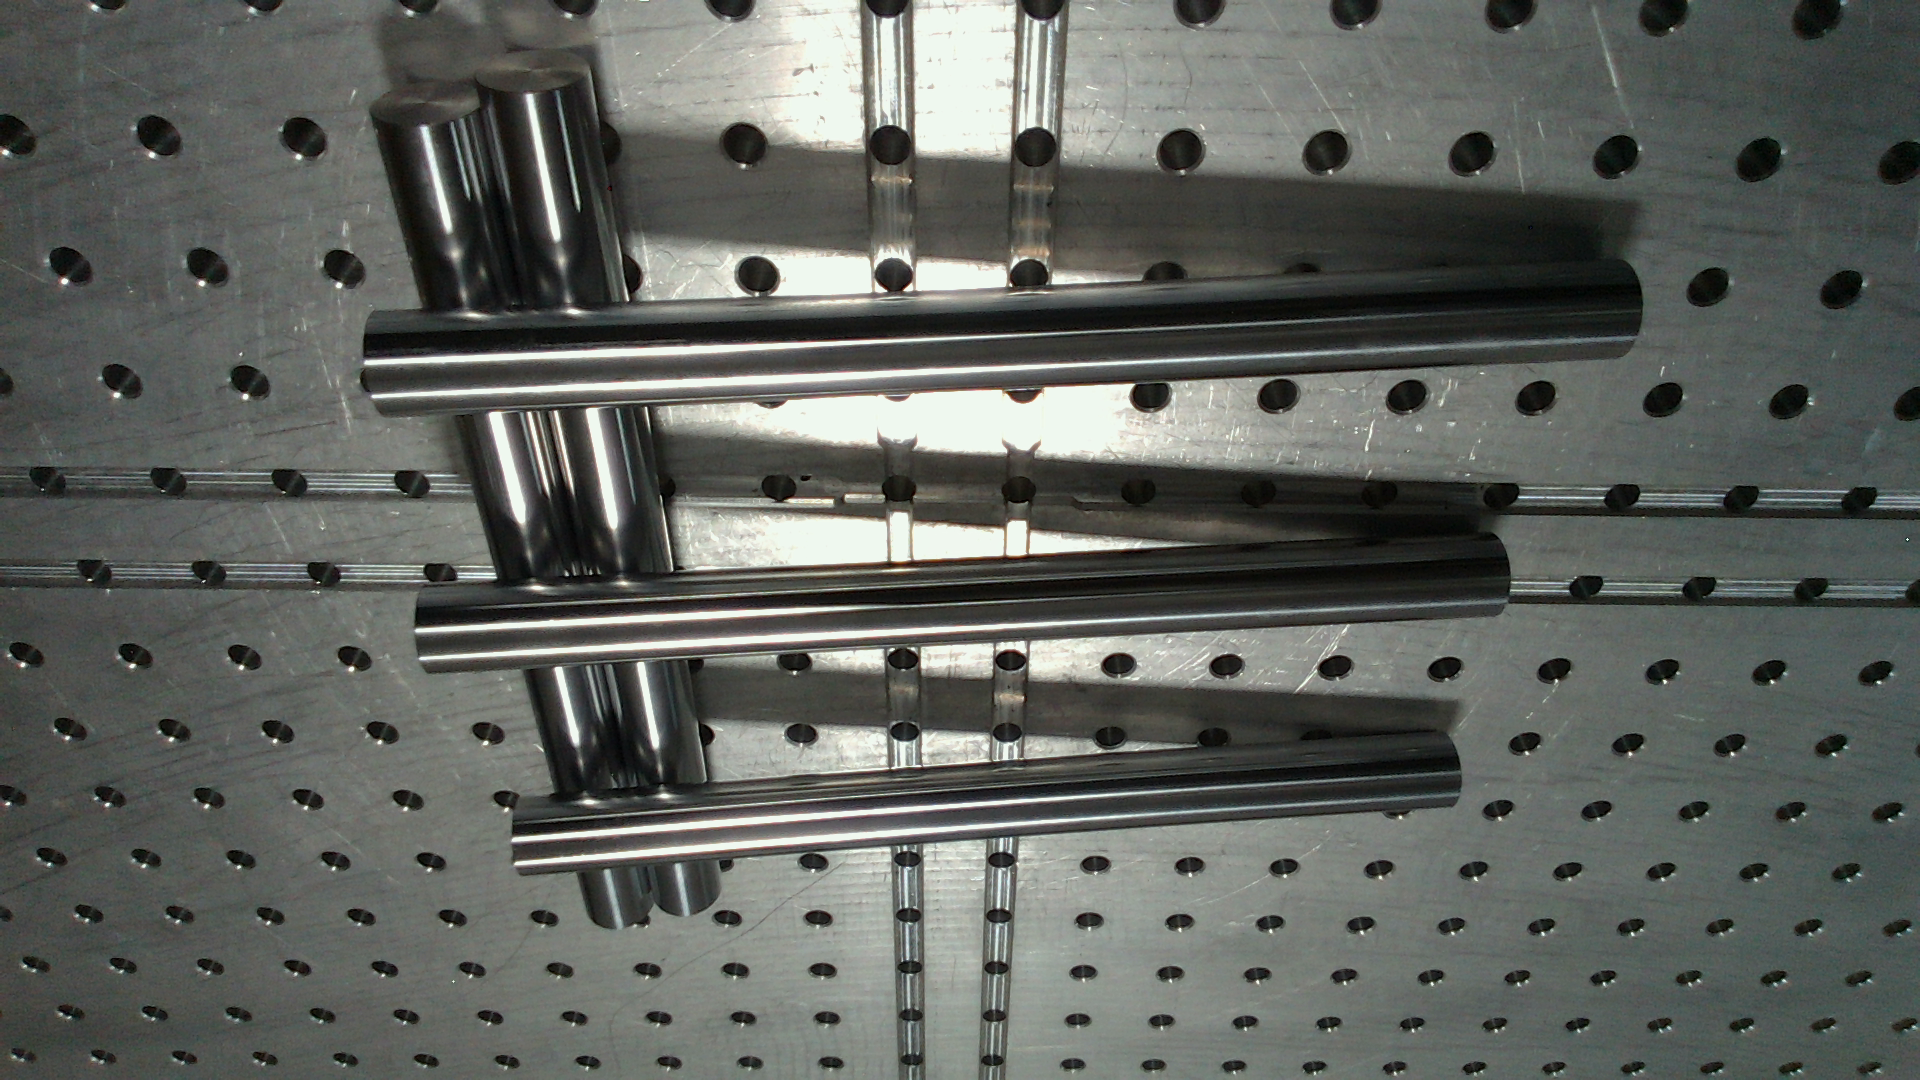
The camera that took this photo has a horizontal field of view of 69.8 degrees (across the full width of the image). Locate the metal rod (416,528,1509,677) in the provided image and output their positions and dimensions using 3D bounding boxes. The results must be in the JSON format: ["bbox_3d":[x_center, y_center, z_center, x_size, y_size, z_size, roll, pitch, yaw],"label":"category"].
[{"bbox_3d":[0.005,0.017,0.388,0.300,0.025,0.025,-3,130,-6],"label":"metal rod"}]

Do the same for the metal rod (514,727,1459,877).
[{"bbox_3d":[0.012,0.084,0.446,0.300,0.025,0.025,-3,130,-5],"label":"metal rod"}]

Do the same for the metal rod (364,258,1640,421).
[{"bbox_3d":[0.015,-0.049,0.333,0.300,0.025,0.025,-3,130,-5],"label":"metal rod"}]

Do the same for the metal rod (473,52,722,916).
[{"bbox_3d":[-0.097,0.011,0.402,0.025,0.025,0.300,1,130,0],"label":"metal rod"}]

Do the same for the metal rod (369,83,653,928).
[{"bbox_3d":[-0.122,0.017,0.406,0.025,0.025,0.300,1,130,0],"label":"metal rod"}]
